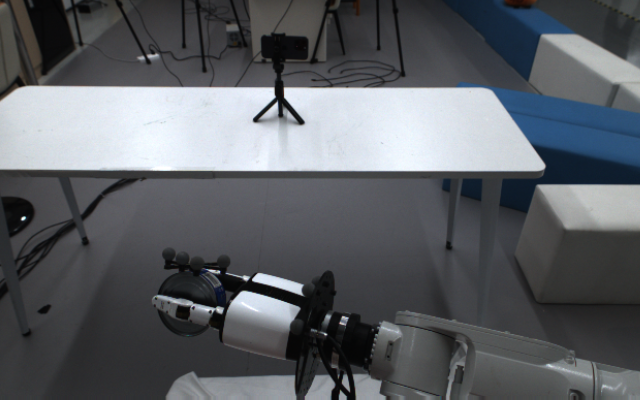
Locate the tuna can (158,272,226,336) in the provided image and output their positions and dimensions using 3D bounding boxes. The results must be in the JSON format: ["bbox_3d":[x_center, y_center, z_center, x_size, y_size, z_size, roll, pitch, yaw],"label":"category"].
[{"bbox_3d":[-0.167,0.134,0.638,0.085,0.085,0.034,11,3,13],"label":"tuna can"}]
